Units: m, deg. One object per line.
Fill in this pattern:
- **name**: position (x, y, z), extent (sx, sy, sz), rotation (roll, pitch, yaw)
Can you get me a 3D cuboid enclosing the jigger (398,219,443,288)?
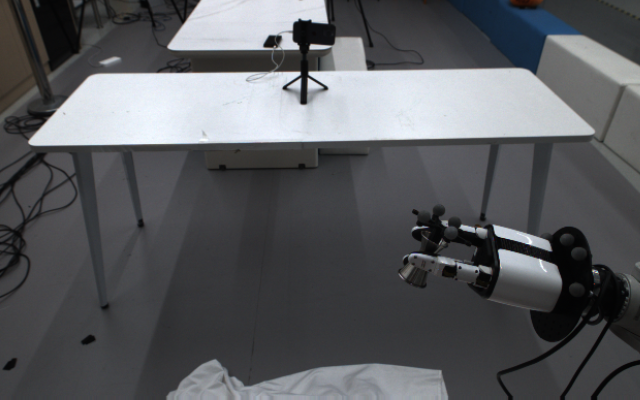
- **jigger**: position (0.140, 0.079, 0.663), extent (0.043, 0.071, 0.043), rotation (23, 19, -8)
